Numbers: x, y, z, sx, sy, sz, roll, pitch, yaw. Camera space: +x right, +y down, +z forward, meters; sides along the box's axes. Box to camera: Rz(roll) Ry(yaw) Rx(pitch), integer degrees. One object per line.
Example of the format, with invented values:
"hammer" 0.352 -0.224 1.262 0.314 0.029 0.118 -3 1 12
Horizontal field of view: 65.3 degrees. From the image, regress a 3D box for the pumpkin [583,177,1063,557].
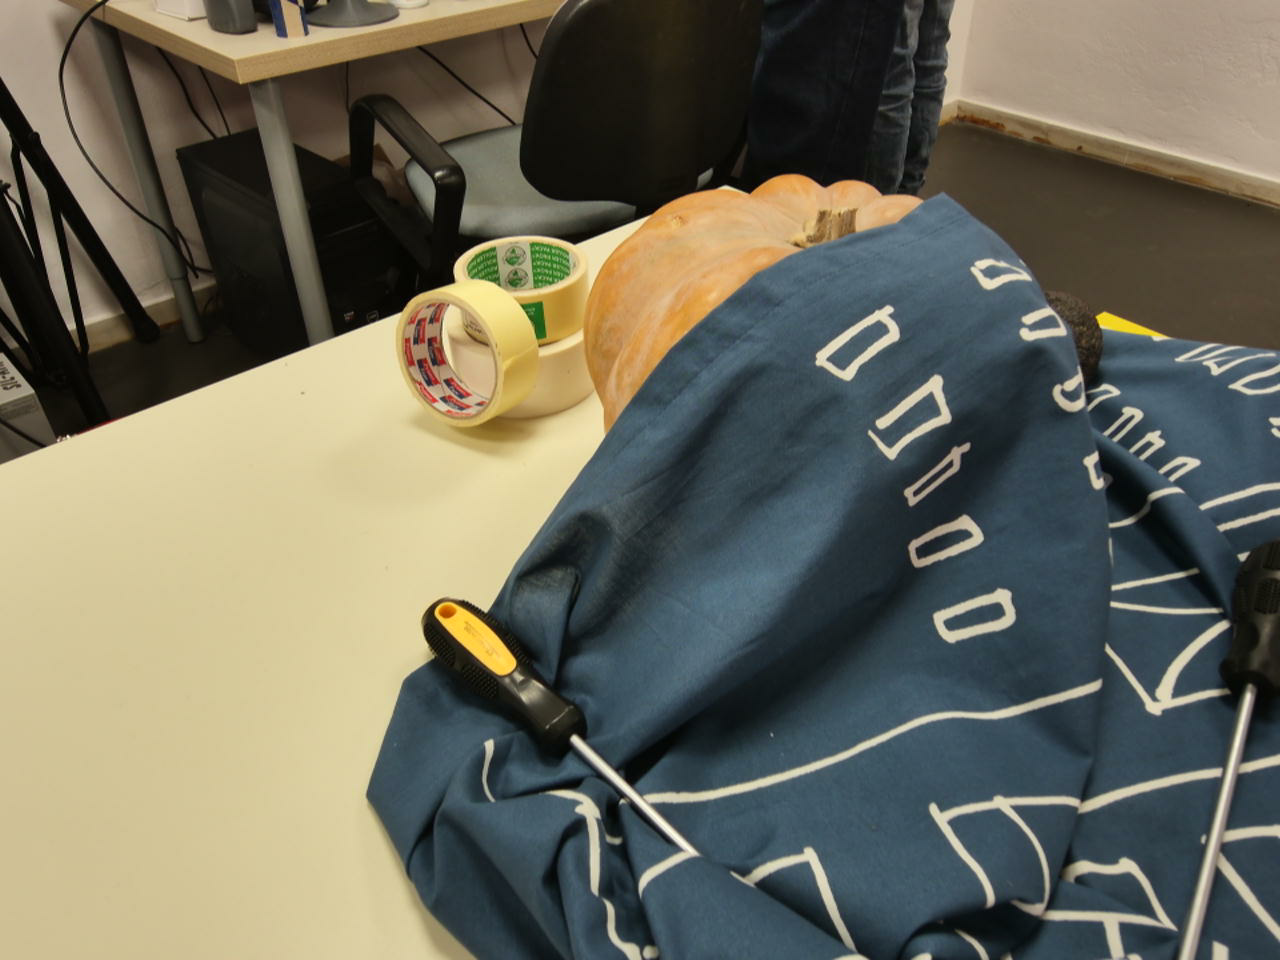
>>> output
"pumpkin" 0.098 -0.071 0.580 0.277 0.181 0.277 0 37 0
